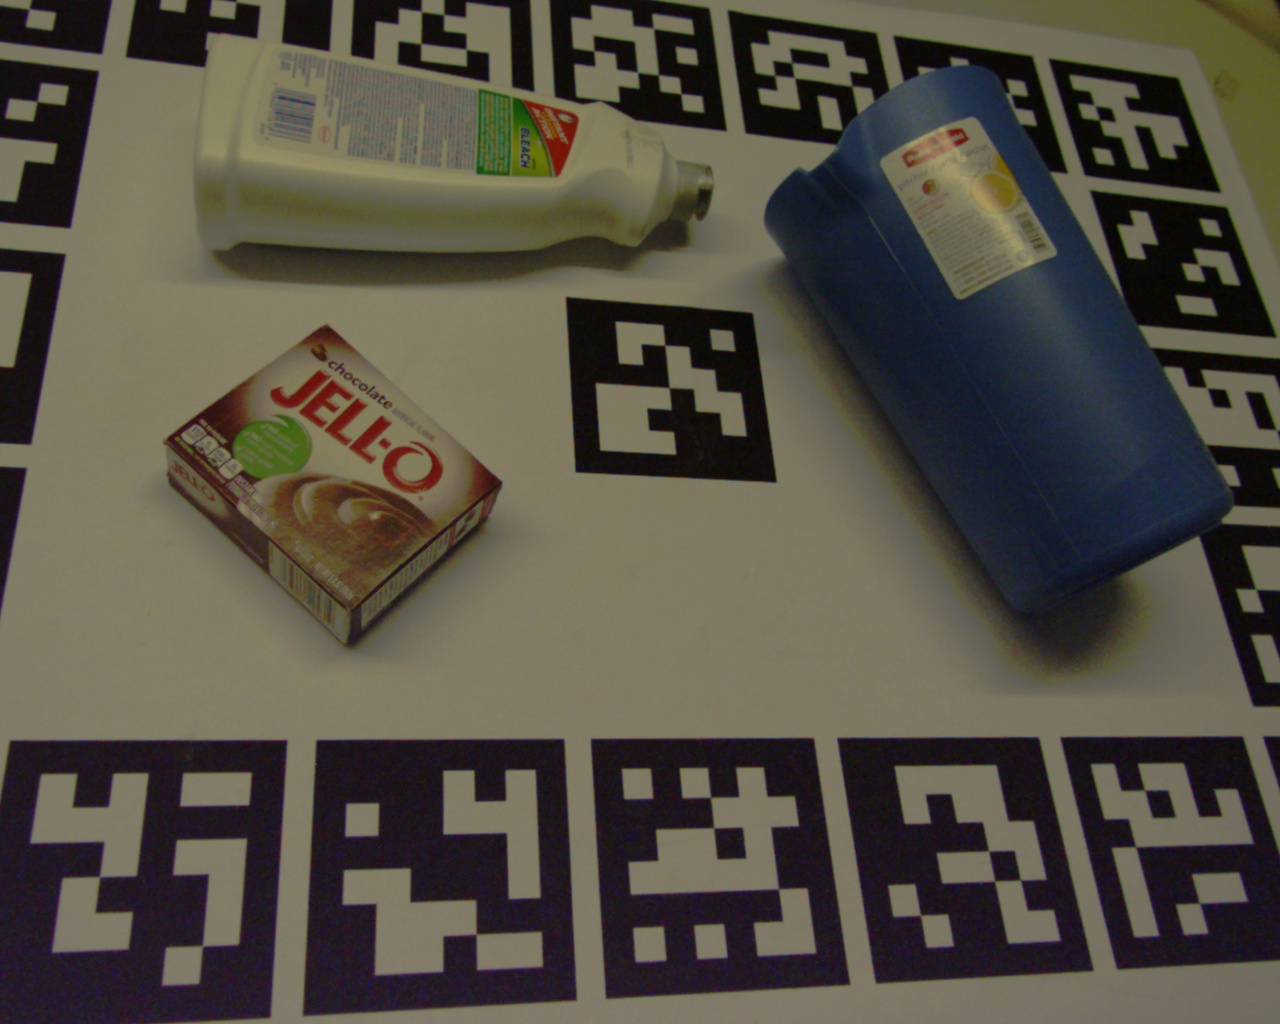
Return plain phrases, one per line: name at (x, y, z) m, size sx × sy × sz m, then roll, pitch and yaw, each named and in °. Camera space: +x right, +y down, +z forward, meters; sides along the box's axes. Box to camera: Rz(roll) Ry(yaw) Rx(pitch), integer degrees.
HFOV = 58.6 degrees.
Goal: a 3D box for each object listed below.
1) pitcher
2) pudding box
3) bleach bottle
pitcher at (0.175, -0.065, 0.600) m, size 0.186 × 0.134 × 0.243 m, roll -7°, pitch 68°, yaw -56°
pudding box at (-0.136, -0.010, 0.520) m, size 0.114 × 0.039 × 0.089 m, roll 44°, pitch 57°, yaw 7°
bleach bottle at (-0.087, -0.168, 0.602) m, size 0.249 × 0.068 × 0.103 m, roll 1°, pitch 69°, yaw -16°
